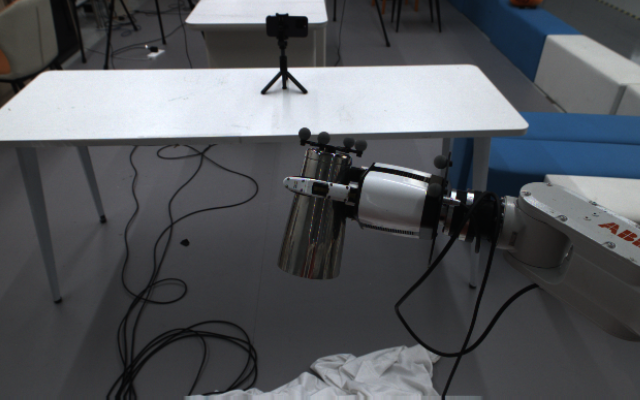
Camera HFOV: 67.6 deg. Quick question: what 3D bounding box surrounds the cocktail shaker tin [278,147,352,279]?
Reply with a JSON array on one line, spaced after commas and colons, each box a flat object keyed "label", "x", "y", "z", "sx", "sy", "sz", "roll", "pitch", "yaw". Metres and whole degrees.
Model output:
[{"label": "cocktail shaker tin", "x": 0.001, "y": 0.014, "z": 0.688, "sx": 0.093, "sy": 0.170, "sz": 0.093, "roll": 10, "pitch": 9, "yaw": -2}]
